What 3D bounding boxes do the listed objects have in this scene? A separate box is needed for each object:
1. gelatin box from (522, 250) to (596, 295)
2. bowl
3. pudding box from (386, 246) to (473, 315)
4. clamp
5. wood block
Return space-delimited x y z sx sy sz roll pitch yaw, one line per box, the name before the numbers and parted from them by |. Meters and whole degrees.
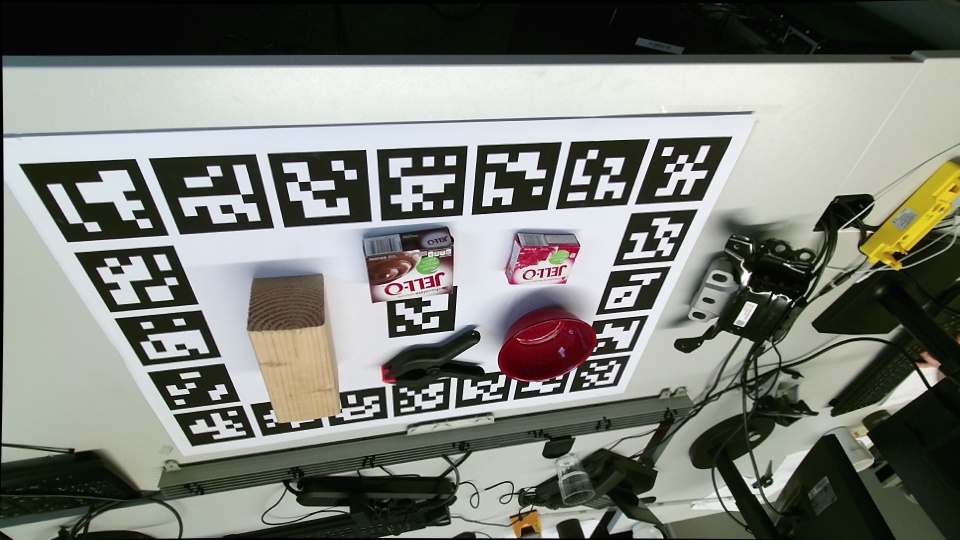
gelatin box | 0.113 0.008 0.773 0.090 0.030 0.073 1 130 -17
bowl | 0.125 0.135 0.890 0.162 0.055 0.162 -7 131 -9
pudding box | -0.068 0.017 0.725 0.114 0.038 0.090 -7 130 -13
clamp | -0.038 0.174 0.893 0.166 0.036 0.122 -12 134 -3
wood block | -0.226 0.135 0.751 0.090 0.090 0.206 -3 132 -13
